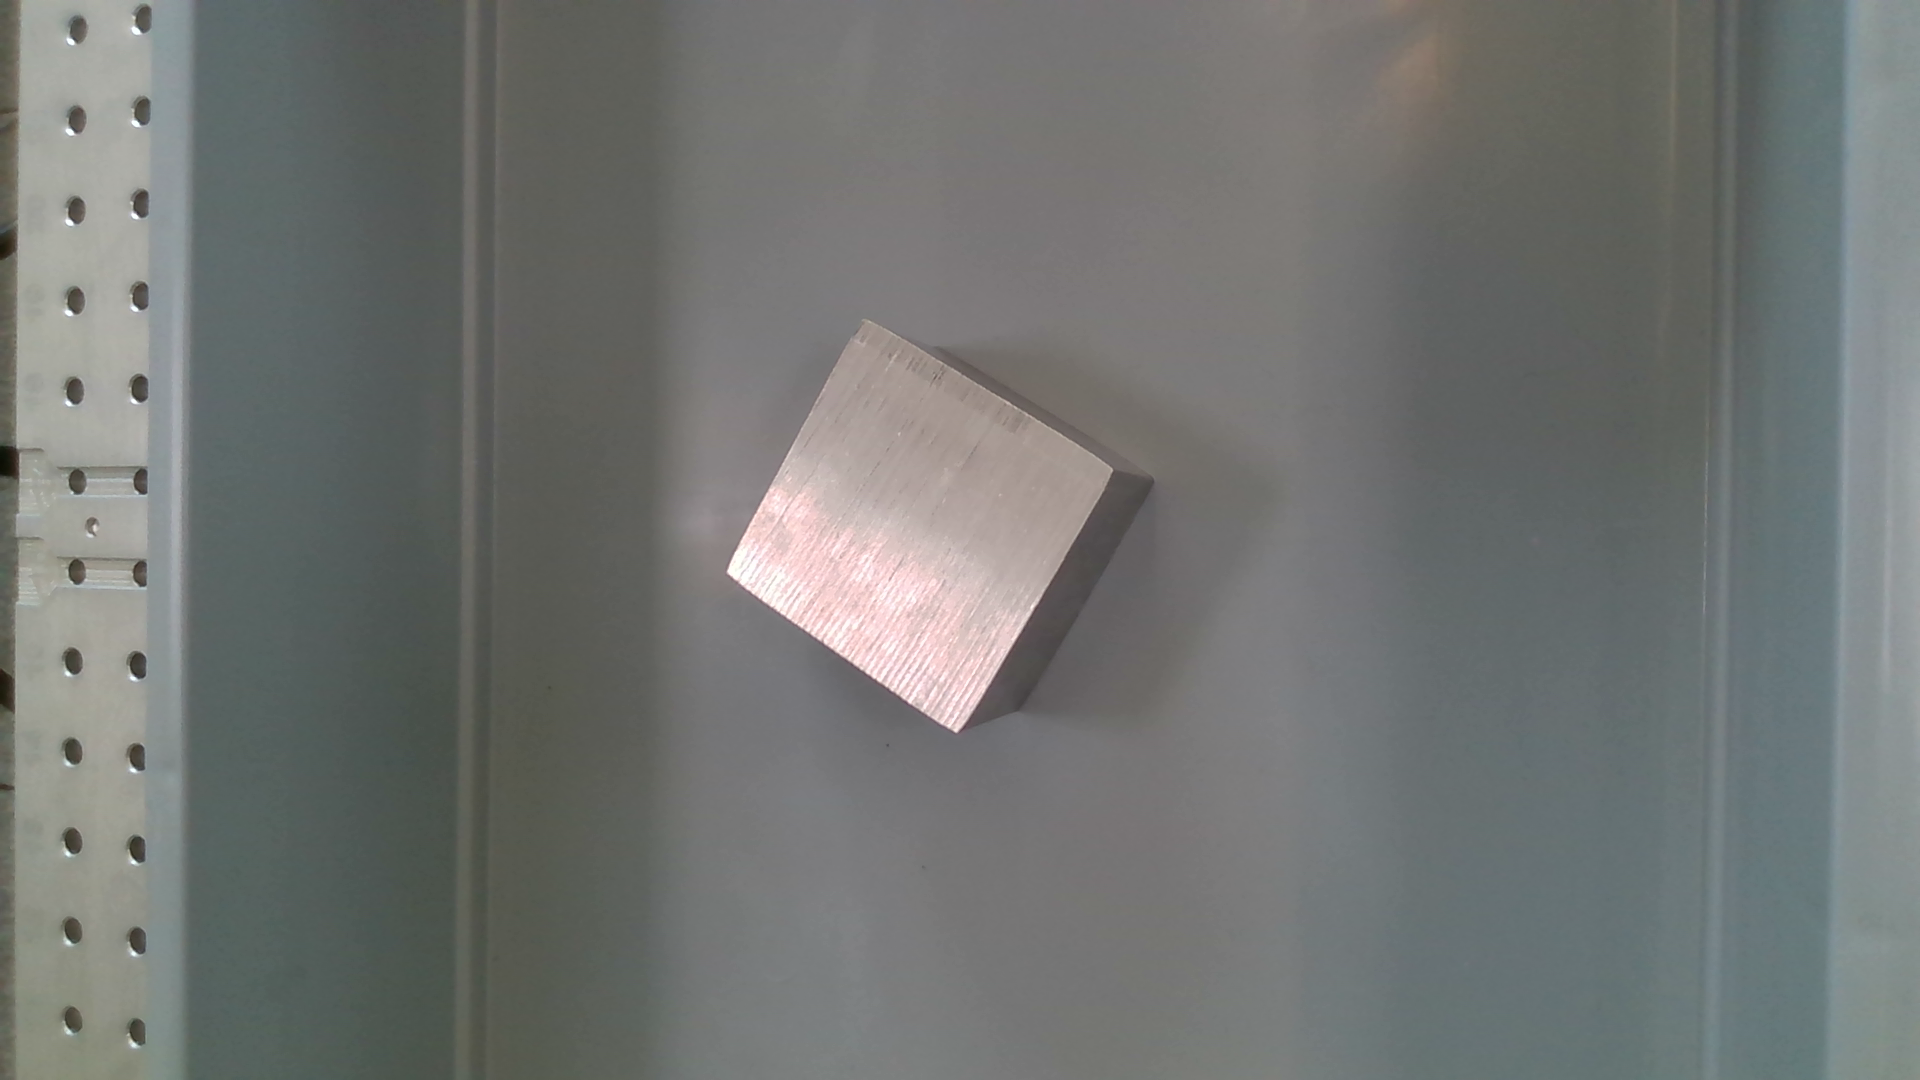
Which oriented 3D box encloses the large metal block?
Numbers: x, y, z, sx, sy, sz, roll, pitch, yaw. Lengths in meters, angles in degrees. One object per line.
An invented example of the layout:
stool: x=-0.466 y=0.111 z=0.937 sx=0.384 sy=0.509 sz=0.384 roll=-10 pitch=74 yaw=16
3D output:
large metal block: x=-0.005 y=-0.005 z=0.379 sx=0.080 sy=0.050 sz=0.080 roll=33 pitch=101 yaw=16
